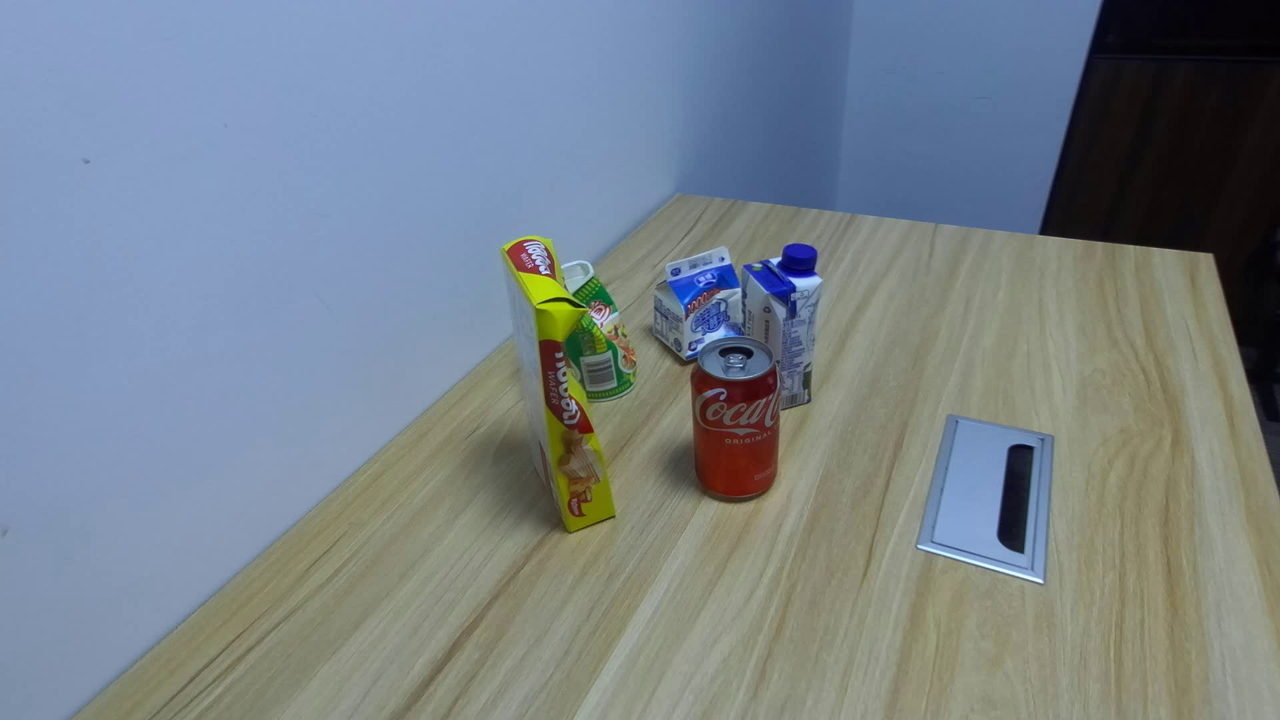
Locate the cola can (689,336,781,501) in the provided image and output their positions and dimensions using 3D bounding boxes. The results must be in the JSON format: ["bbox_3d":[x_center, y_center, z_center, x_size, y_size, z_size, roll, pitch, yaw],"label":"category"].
[{"bbox_3d":[0.073,0.044,0.536,0.068,0.120,0.067,-3,34,2],"label":"cola can"}]

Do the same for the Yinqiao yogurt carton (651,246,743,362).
[{"bbox_3d":[0.059,-0.061,0.709,0.077,0.094,0.070,-18,32,-19],"label":"Yinqiao yogurt carton"}]

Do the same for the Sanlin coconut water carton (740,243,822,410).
[{"bbox_3d":[0.120,-0.027,0.610,0.061,0.144,0.060,-15,36,-14],"label":"Sanlin coconut water carton"}]

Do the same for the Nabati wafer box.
[{"bbox_3d":[-0.057,0.022,0.512,0.042,0.204,0.106,-16,34,-16],"label":"Nabati wafer box"}]

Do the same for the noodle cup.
[{"bbox_3d":[-0.044,-0.025,0.657,0.075,0.122,0.083,12,47,35],"label":"noodle cup"}]
